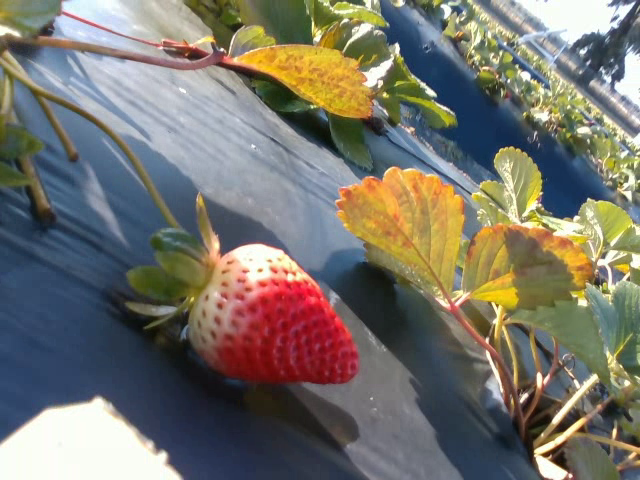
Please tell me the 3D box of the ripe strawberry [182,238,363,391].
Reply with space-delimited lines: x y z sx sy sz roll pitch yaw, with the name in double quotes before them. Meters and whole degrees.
"ripe strawberry" -0.009 0.023 0.174 0.064 0.044 0.044 31 -14 -3
